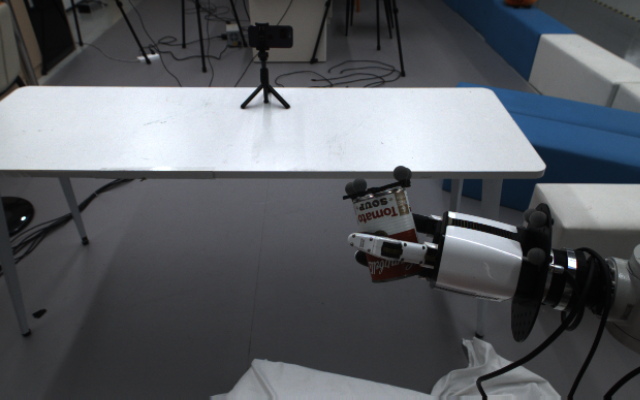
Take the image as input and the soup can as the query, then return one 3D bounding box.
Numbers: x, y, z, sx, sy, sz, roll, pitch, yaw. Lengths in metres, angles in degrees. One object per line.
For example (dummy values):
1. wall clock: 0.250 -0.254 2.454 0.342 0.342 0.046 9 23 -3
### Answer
1. soup can: 0.084 0.041 0.583 0.067 0.101 0.067 -14 -2 -1
